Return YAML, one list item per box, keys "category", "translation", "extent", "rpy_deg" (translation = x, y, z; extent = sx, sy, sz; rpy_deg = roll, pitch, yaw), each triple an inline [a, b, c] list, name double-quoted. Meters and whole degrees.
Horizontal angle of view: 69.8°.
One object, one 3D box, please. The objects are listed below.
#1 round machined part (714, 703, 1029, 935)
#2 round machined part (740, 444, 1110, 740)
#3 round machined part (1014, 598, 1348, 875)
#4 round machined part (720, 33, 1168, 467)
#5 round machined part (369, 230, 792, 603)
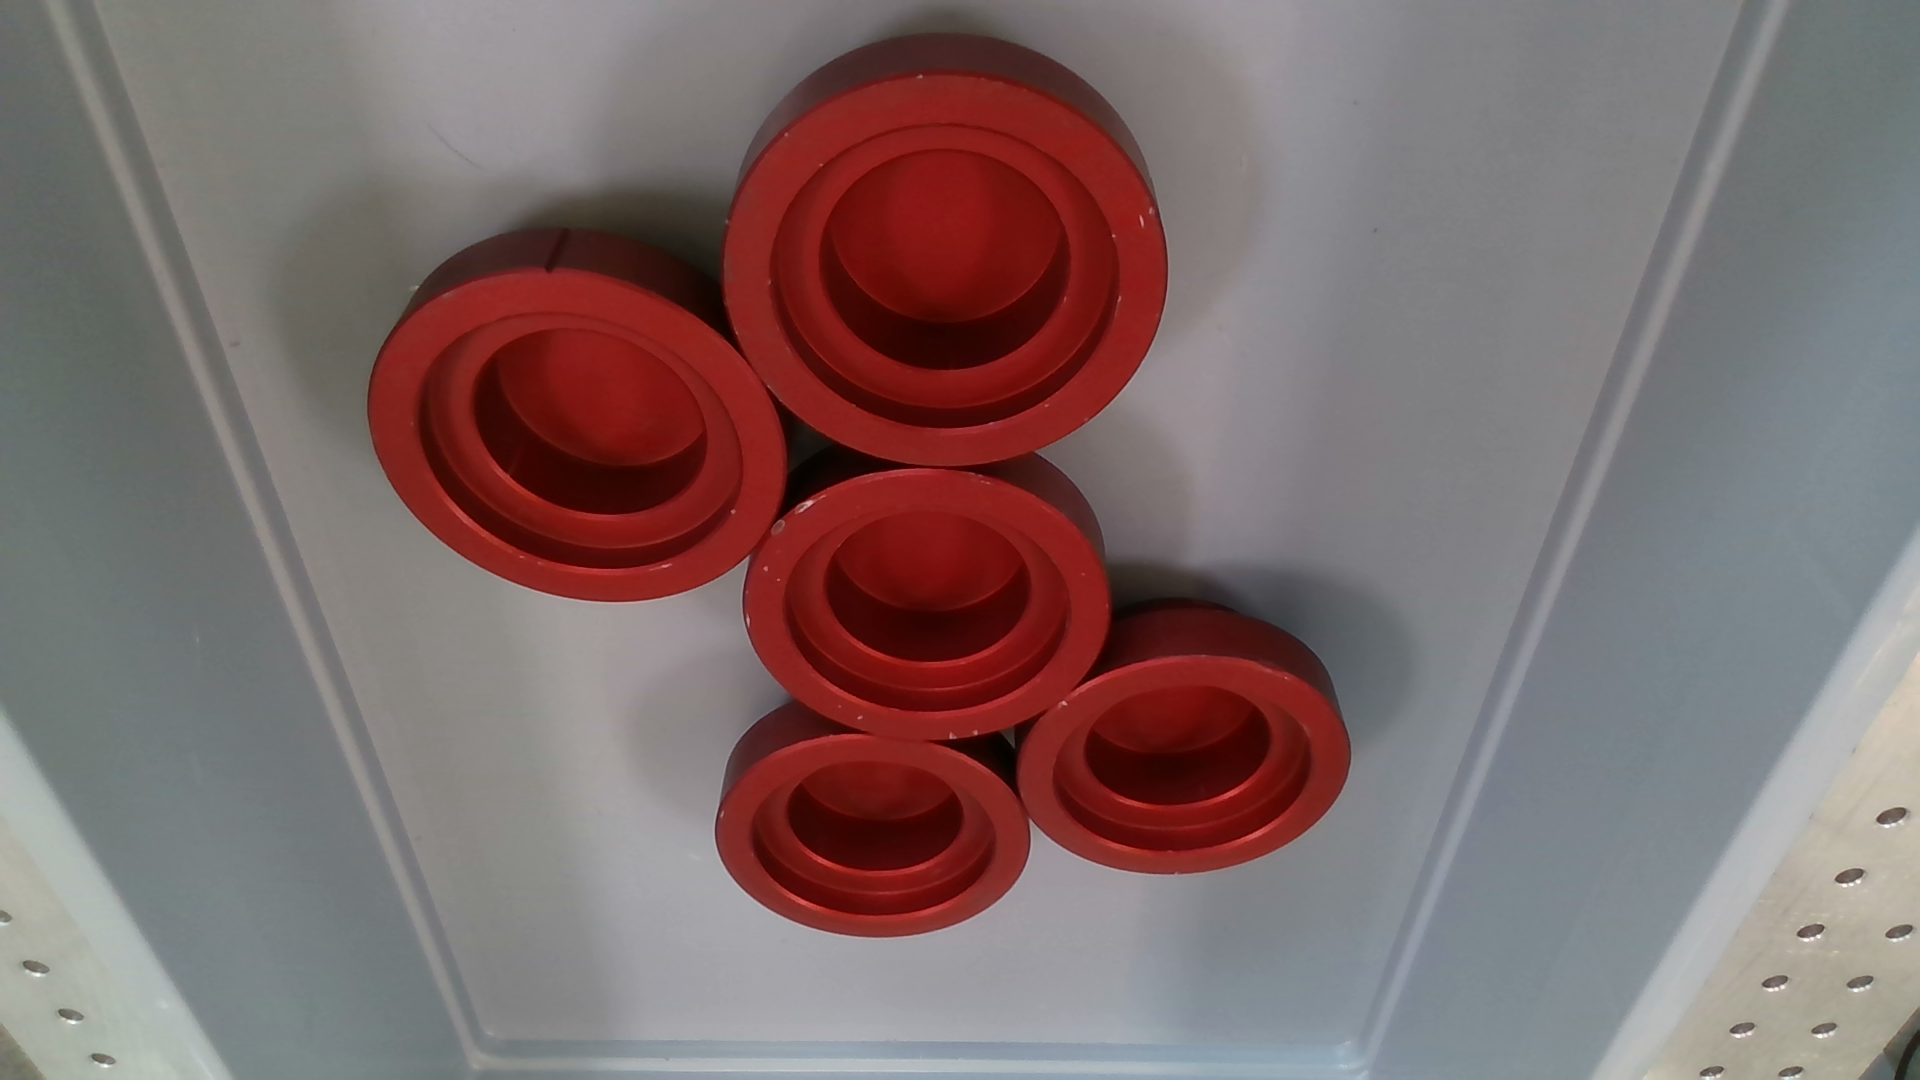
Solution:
- category: "round machined part"
  translation: [-0.027, 0.081, 0.444]
  extent: [0.098, 0.042, 0.098]
  rpy_deg: [0, 130, 0]
- category: "round machined part"
  translation: [-0.009, 0.007, 0.380]
  extent: [0.098, 0.042, 0.098]
  rpy_deg: [0, 130, 0]
- category: "round machined part"
  translation: [0.065, 0.056, 0.423]
  extent: [0.098, 0.042, 0.098]
  rpy_deg: [0, 130, 0]
- category: "round machined part"
  translation: [-0.003, -0.068, 0.318]
  extent: [0.098, 0.042, 0.098]
  rpy_deg: [0, 130, 0]
- category: "round machined part"
  translation: [-0.091, -0.034, 0.346]
  extent: [0.098, 0.042, 0.098]
  rpy_deg: [0, 130, 0]
